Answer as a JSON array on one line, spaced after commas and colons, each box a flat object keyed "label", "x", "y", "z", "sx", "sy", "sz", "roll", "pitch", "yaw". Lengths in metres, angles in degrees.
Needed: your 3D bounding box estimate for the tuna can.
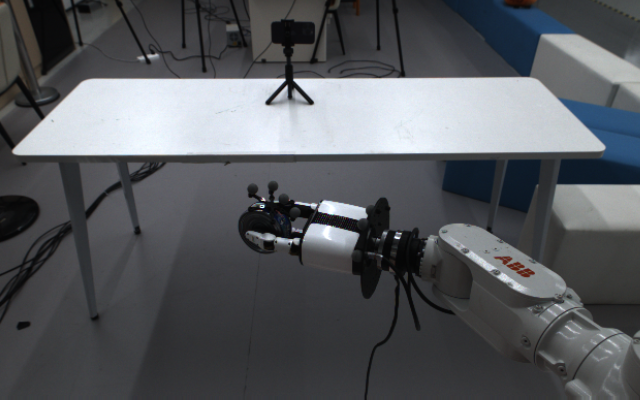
[{"label": "tuna can", "x": -0.090, "y": 0.053, "z": 0.801, "sx": 0.085, "sy": 0.085, "sz": 0.034, "roll": 15, "pitch": 31, "yaw": 18}]
